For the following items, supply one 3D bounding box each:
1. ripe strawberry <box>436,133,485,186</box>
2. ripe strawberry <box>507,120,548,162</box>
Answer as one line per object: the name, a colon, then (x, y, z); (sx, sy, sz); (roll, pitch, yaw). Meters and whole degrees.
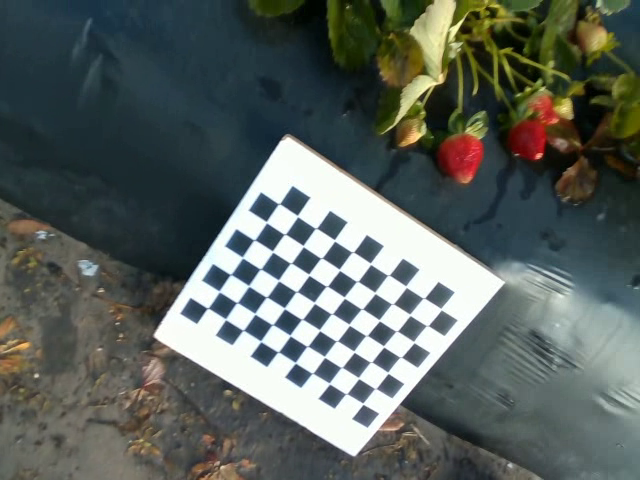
ripe strawberry: (0.149, -0.080, 0.799); (0.050, 0.065, 0.050); (-4, -33, 3)
ripe strawberry: (0.225, -0.103, 0.834); (0.044, 0.055, 0.042); (-26, -31, 11)
